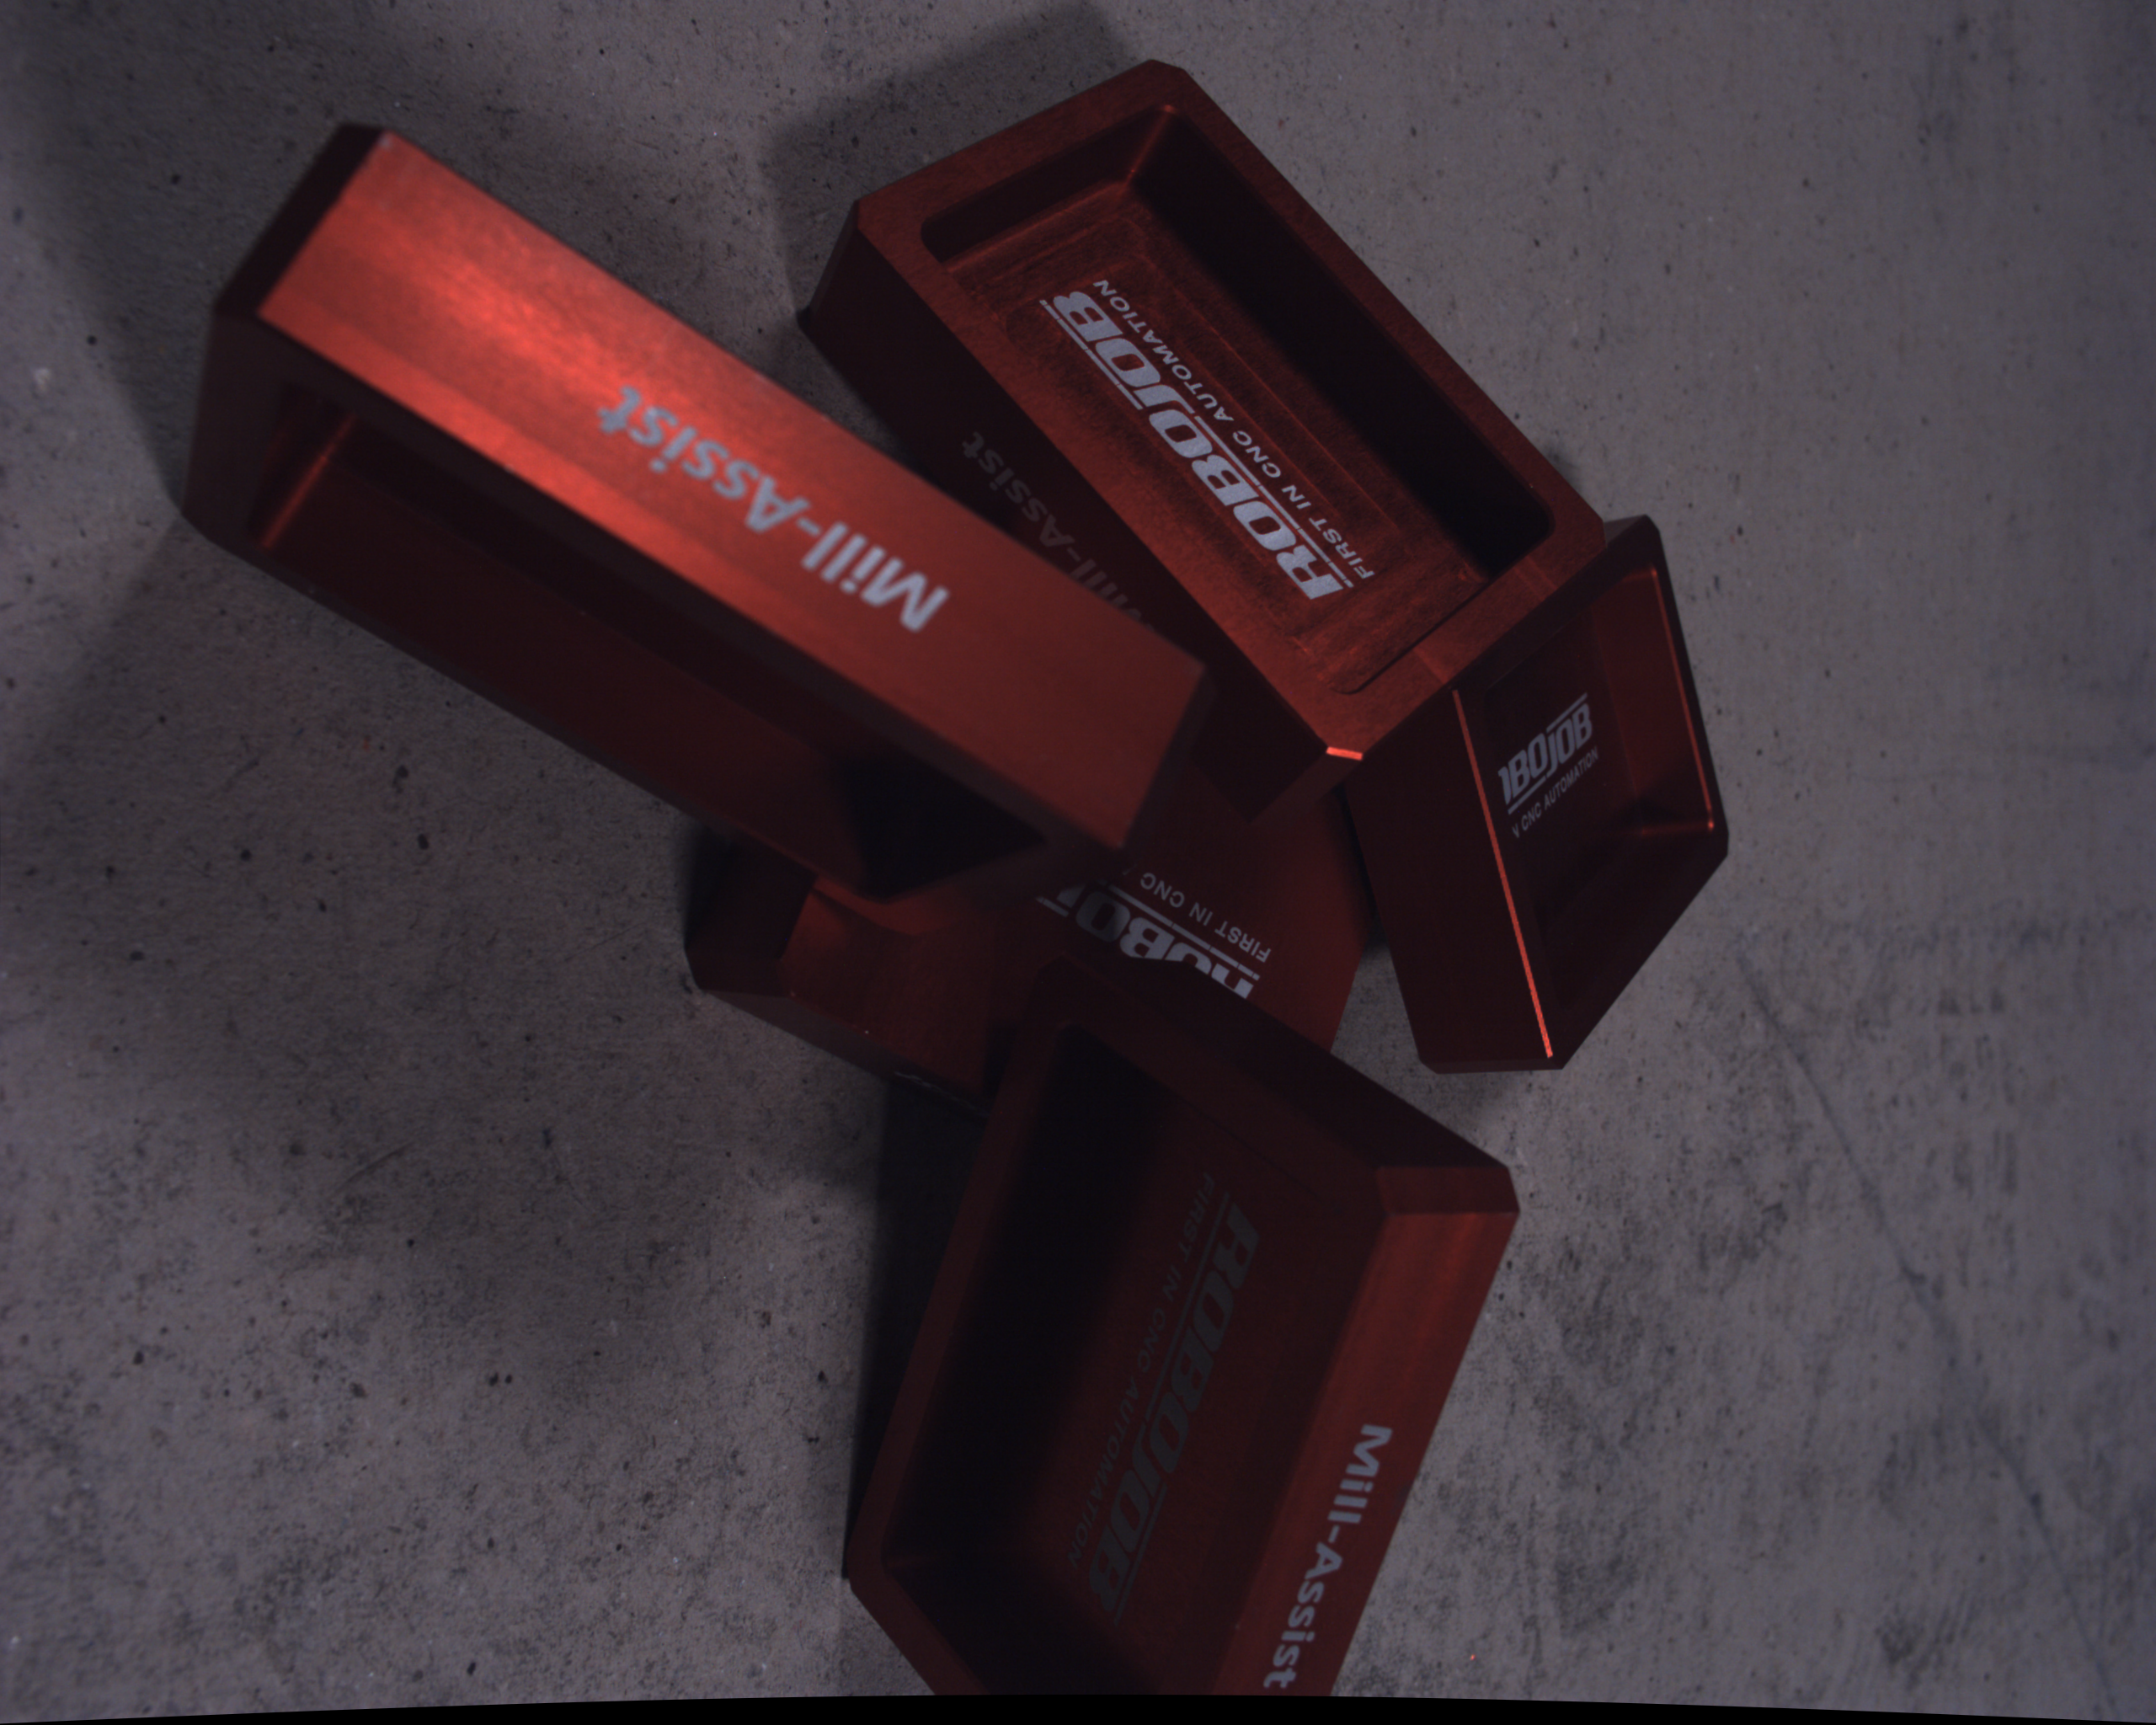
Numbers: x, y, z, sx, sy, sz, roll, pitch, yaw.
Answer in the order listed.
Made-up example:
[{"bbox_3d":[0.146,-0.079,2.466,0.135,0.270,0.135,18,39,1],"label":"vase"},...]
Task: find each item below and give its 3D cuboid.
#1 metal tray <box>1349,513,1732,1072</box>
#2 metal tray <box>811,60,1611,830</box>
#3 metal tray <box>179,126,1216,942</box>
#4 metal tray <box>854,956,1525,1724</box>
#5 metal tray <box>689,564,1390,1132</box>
[{"bbox_3d":[0.107,-0.020,0.474,0.131,0.030,0.089,-35,112,-50],"label":"metal tray"},{"bbox_3d":[0.026,-0.081,0.388,0.130,0.030,0.091,48,56,4],"label":"metal tray"},{"bbox_3d":[-0.057,-0.037,0.297,0.130,0.090,0.030,32,69,-18],"label":"metal tray"},{"bbox_3d":[0.013,0.091,0.352,0.030,0.090,0.129,7,106,-40],"label":"metal tray"},{"bbox_3d":[-0.001,0.008,0.404,0.130,0.030,0.090,32,70,-36],"label":"metal tray"}]
